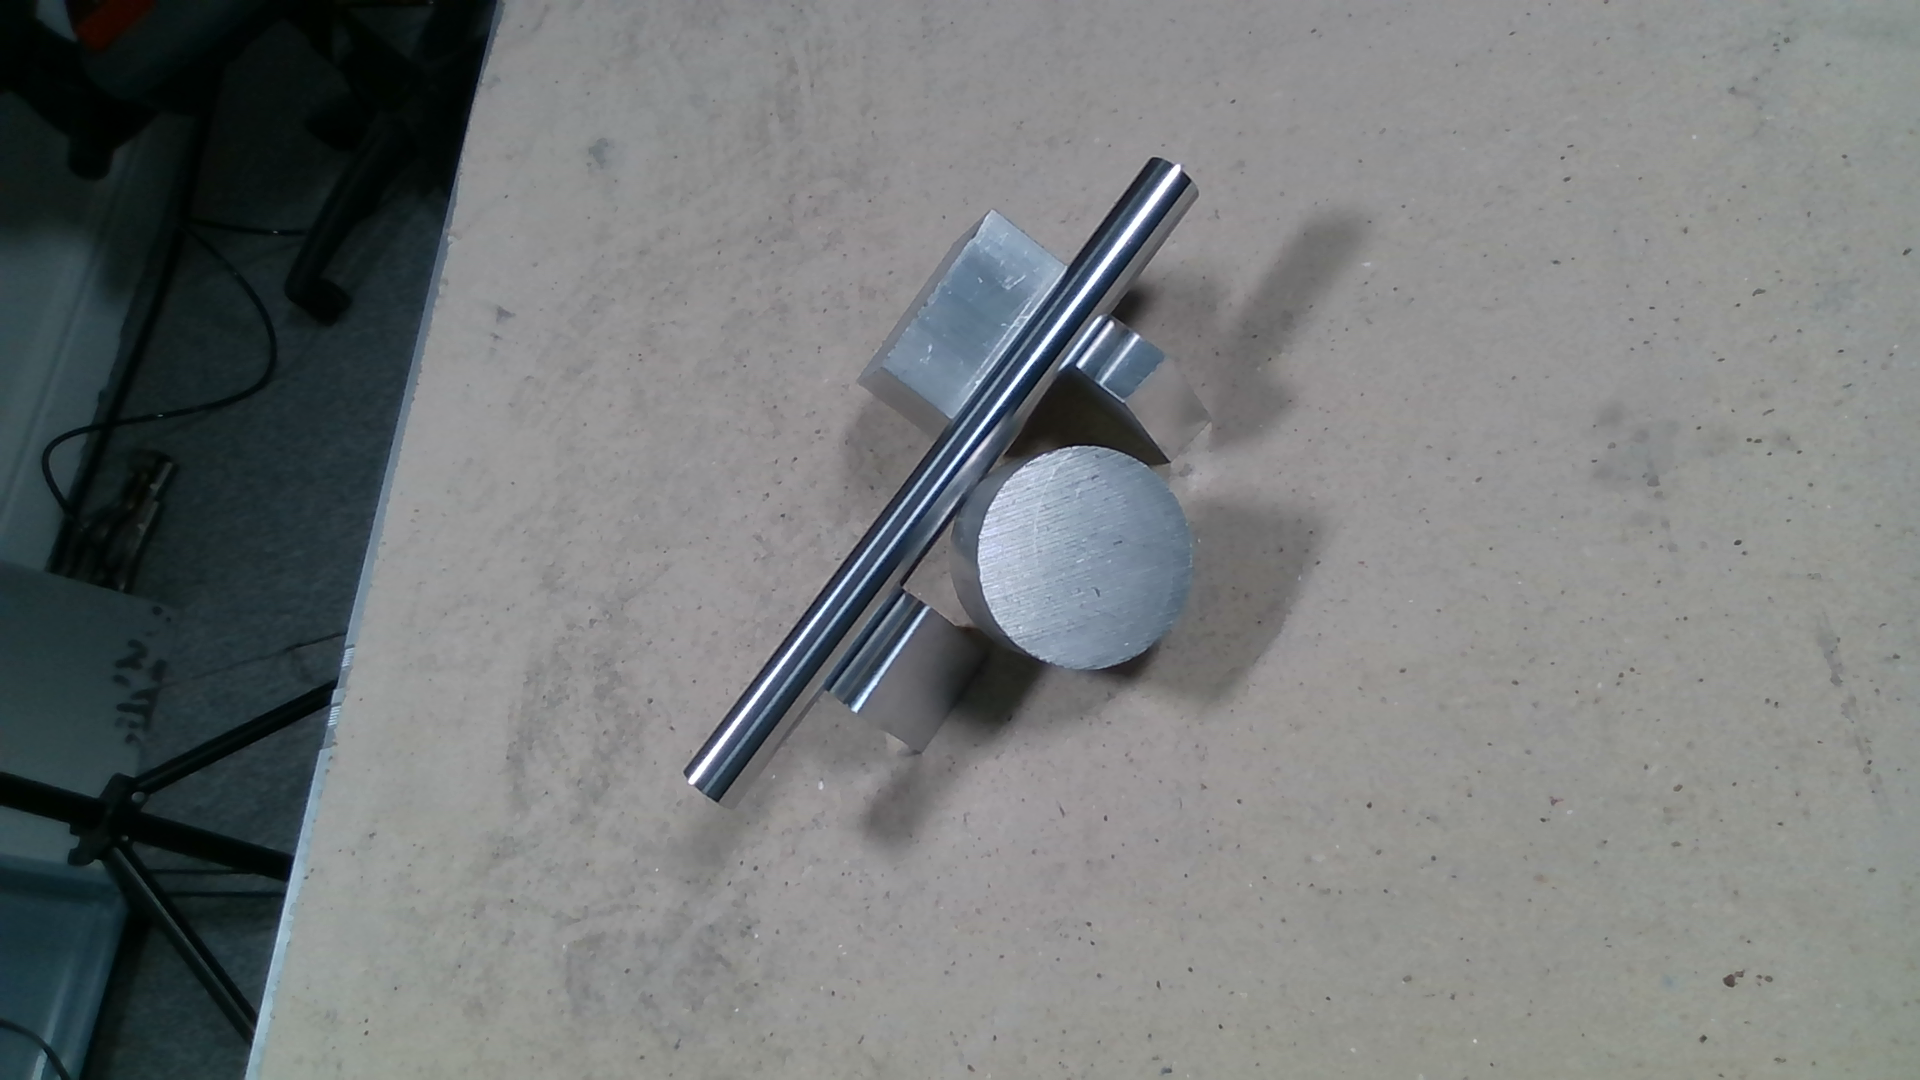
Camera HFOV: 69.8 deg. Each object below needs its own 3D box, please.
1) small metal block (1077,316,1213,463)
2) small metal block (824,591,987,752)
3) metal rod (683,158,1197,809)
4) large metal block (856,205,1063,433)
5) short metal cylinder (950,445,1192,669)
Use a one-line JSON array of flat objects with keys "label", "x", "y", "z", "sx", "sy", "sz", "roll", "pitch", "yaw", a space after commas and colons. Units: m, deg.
[{"label": "small metal block", "x": 0.069, "y": -0.065, "z": 0.562, "sx": 0.025, "sy": 0.050, "sz": 0.050, "roll": -47, "pitch": 51, "yaw": 2}, {"label": "small metal block", "x": -0.024, "y": 0.051, "z": 0.553, "sx": 0.025, "sy": 0.050, "sz": 0.050, "roll": 31, "pitch": 84, "yaw": 39}, {"label": "metal rod", "x": -0.007, "y": -0.024, "z": 0.538, "sx": 0.025, "sy": 0.025, "sz": 0.300, "roll": 35, "pitch": 86, "yaw": 39}, {"label": "large metal block", "x": 0.003, "y": -0.089, "z": 0.592, "sx": 0.080, "sy": 0.050, "sz": 0.080, "roll": -55, "pitch": 11, "yaw": -5}, {"label": "short metal cylinder", "x": 0.040, "y": 0.006, "z": 0.515, "sx": 0.080, "sy": 0.080, "sz": 0.050, "roll": -56, "pitch": 10, "yaw": -6}]
